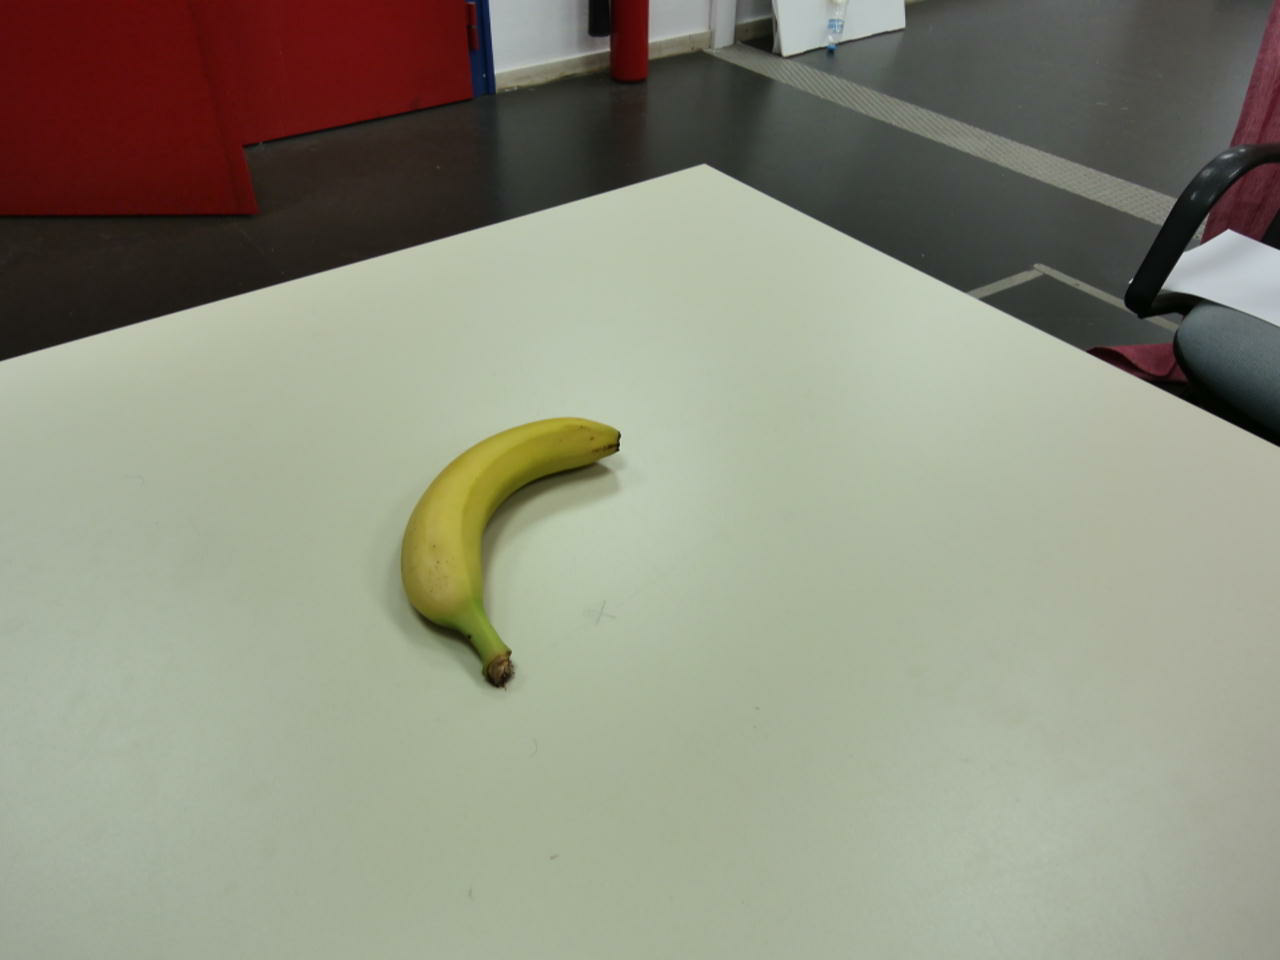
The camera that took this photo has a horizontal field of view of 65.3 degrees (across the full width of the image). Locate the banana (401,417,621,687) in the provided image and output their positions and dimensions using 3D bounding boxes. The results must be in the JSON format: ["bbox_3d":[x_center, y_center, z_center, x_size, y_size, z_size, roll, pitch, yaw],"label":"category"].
[{"bbox_3d":[-0.081,0.022,0.566,0.094,0.041,0.196,12,39,13],"label":"banana"}]
